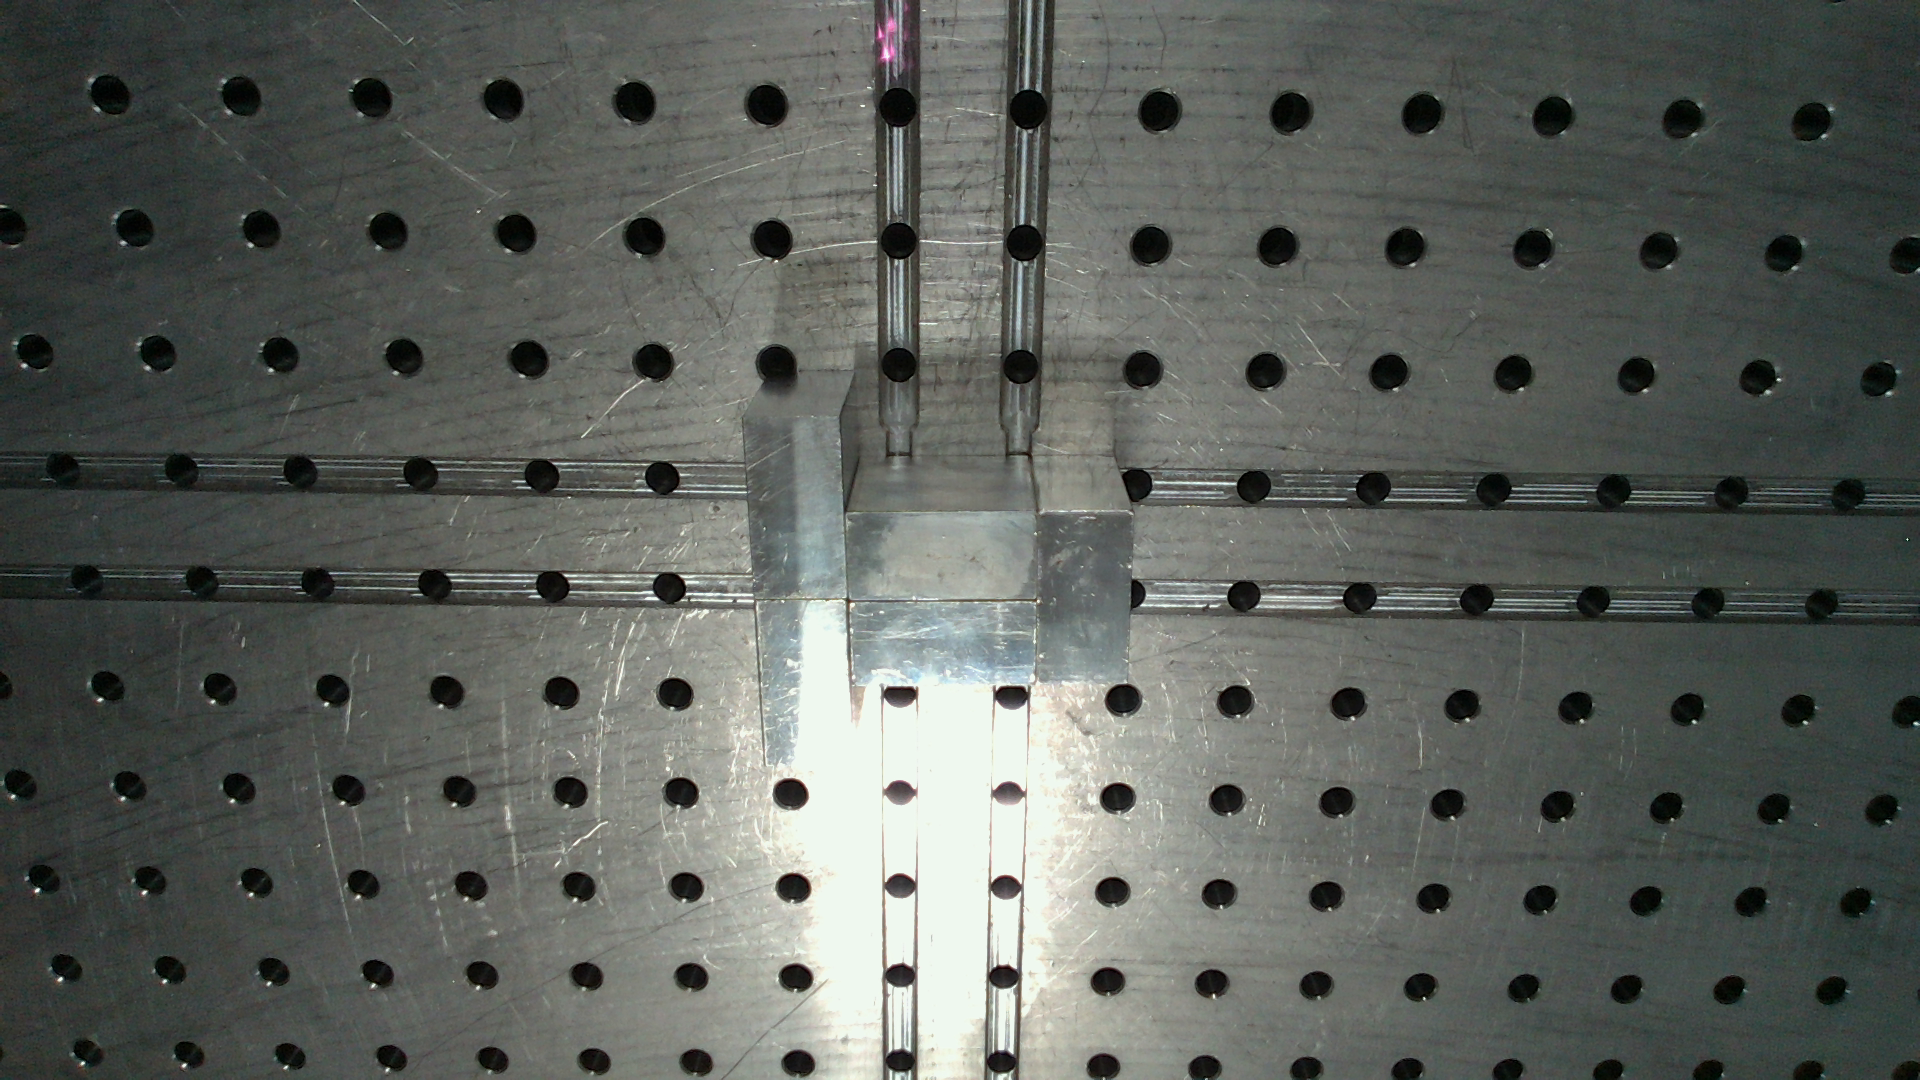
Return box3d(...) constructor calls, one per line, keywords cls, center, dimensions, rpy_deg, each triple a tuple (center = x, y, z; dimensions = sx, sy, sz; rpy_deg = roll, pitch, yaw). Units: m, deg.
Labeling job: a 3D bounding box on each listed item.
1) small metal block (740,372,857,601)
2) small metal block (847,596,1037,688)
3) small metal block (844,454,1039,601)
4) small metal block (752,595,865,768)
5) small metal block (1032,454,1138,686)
box3d(cls="small metal block", center=(-0.042, -0.016, 0.376), dimensions=(0.025, 0.050, 0.050), rpy_deg=(0, 110, 0))
box3d(cls="small metal block", center=(-0.004, 0.019, 0.389), dimensions=(0.050, 0.050, 0.025), rpy_deg=(0, 110, 0))
box3d(cls="small metal block", center=(-0.005, -0.005, 0.381), dimensions=(0.050, 0.050, 0.025), rpy_deg=(0, 110, 0))
box3d(cls="small metal block", center=(-0.042, 0.031, 0.393), dimensions=(0.025, 0.050, 0.050), rpy_deg=(0, 110, 0))
box3d(cls="small metal block", center=(0.033, 0.007, 0.385), dimensions=(0.025, 0.050, 0.050), rpy_deg=(0, 110, 0))
